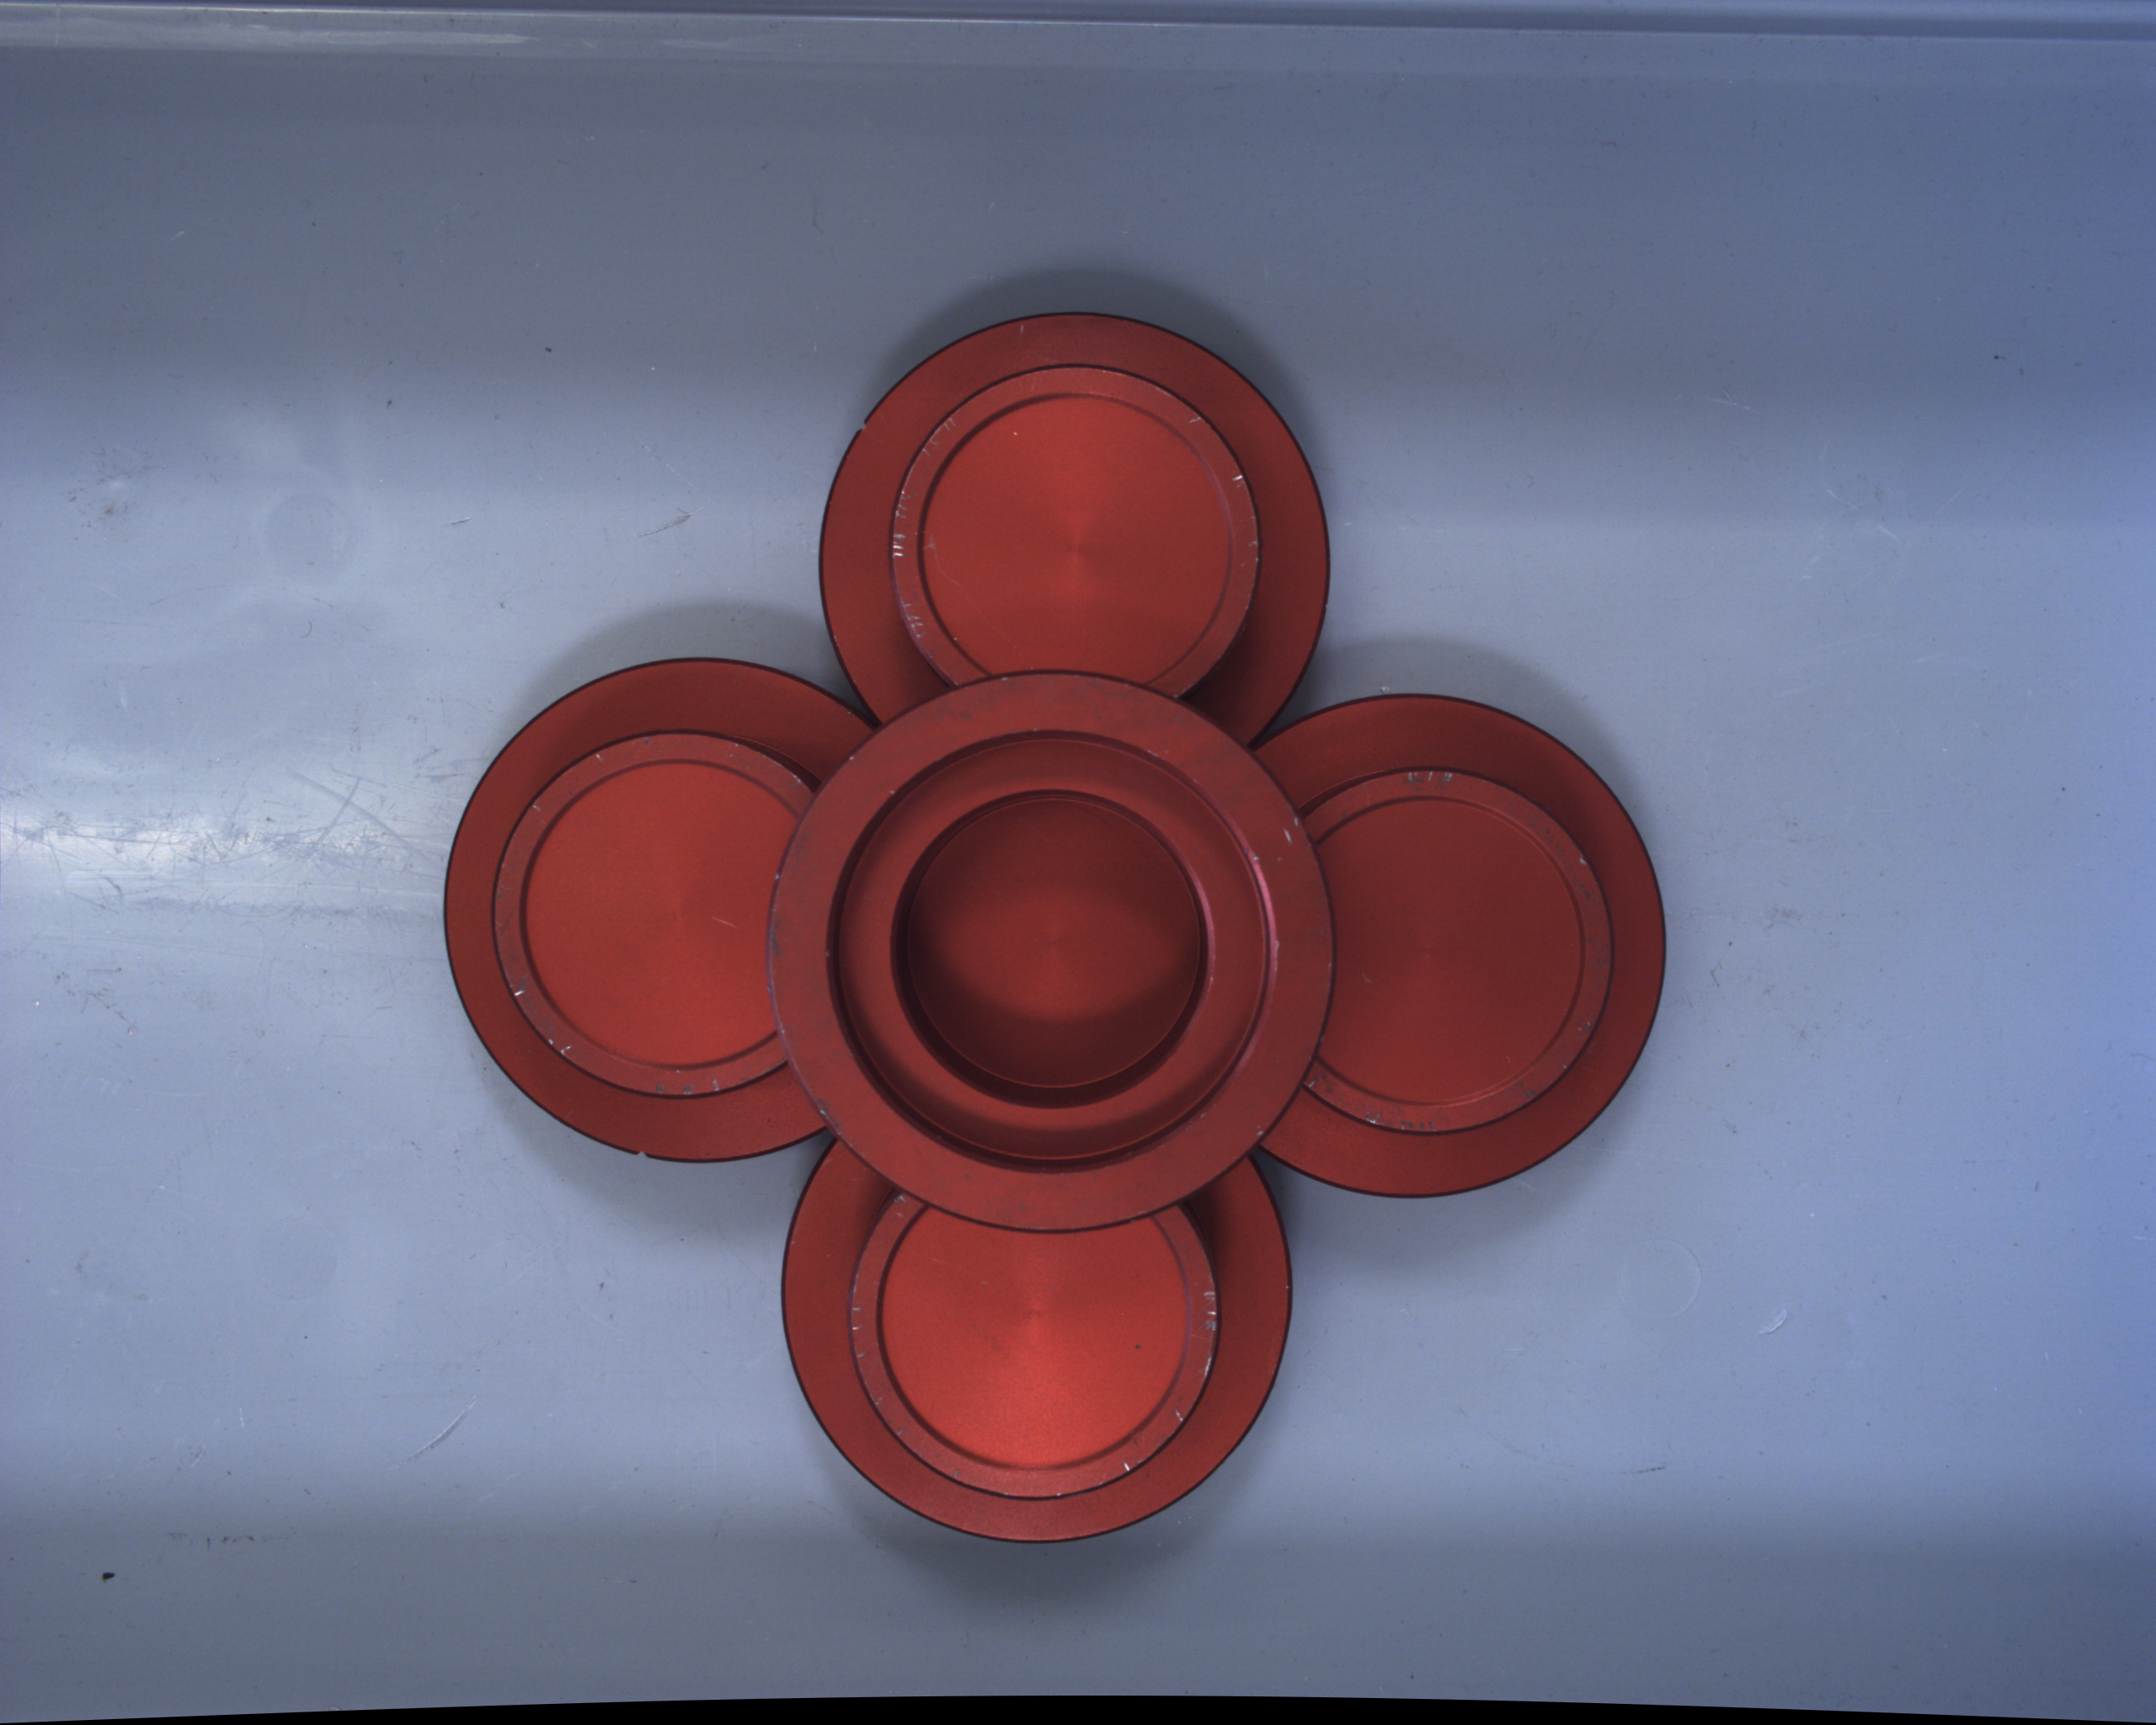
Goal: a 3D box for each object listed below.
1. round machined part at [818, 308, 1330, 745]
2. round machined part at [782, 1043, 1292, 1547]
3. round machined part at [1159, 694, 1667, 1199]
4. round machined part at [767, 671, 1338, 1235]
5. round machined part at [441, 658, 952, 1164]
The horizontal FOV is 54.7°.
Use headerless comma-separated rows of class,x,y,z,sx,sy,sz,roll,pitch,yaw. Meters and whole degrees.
round machined part,-0.001,-0.058,0.400,0.099,0.042,0.097,0,90,0
round machined part,-0.008,0.083,0.401,0.099,0.042,0.097,0,88,-1
round machined part,0.064,0.016,0.401,0.099,0.042,0.097,0,90,0
round machined part,-0.004,0.015,0.380,0.099,0.042,0.097,0,90,0
round machined part,-0.073,0.009,0.400,0.099,0.042,0.097,0,90,0
